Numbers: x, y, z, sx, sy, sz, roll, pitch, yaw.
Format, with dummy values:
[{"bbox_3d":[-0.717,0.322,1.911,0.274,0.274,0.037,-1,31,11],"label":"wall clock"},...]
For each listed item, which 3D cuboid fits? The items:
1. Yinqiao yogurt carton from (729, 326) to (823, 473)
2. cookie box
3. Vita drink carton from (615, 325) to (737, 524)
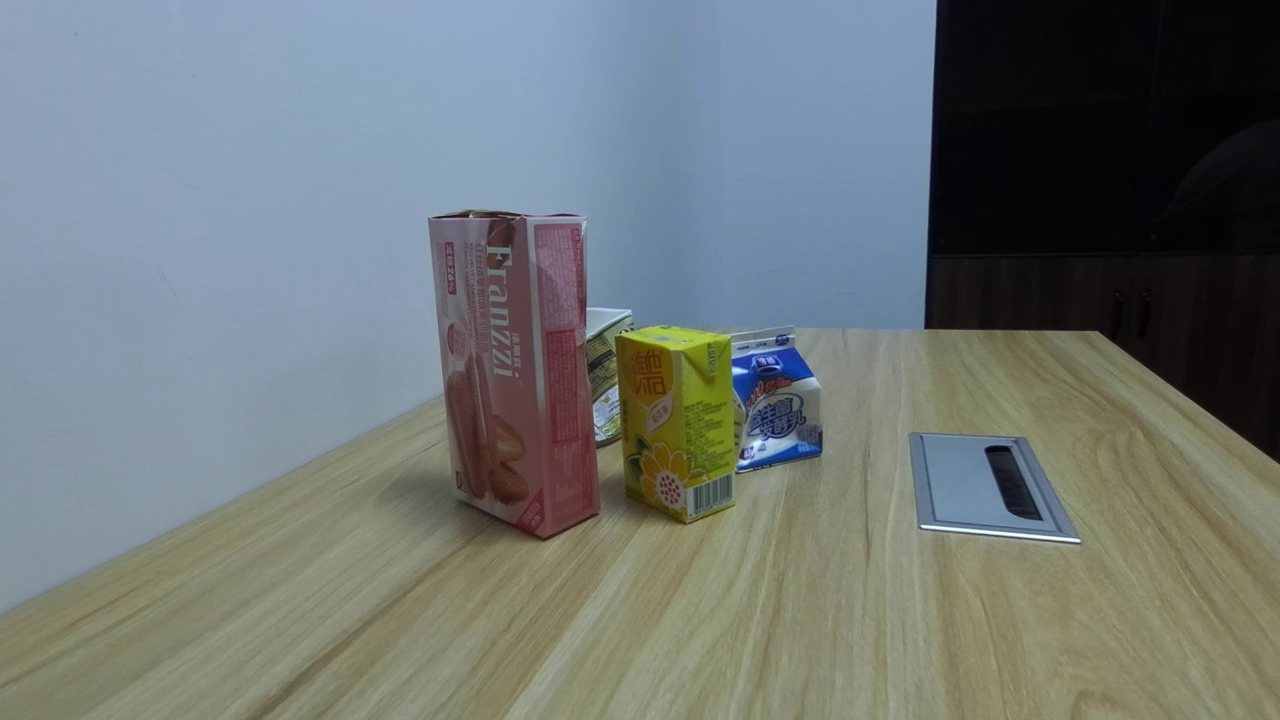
[{"bbox_3d":[0.084,0.023,0.514,0.077,0.094,0.071,-9,20,-19],"label":"Yinqiao yogurt carton"},{"bbox_3d":[-0.073,0.004,0.430,0.104,0.187,0.049,10,17,42],"label":"cookie box"},{"bbox_3d":[0.021,0.037,0.439,0.044,0.109,0.066,-14,18,-36],"label":"Vita drink carton"}]
